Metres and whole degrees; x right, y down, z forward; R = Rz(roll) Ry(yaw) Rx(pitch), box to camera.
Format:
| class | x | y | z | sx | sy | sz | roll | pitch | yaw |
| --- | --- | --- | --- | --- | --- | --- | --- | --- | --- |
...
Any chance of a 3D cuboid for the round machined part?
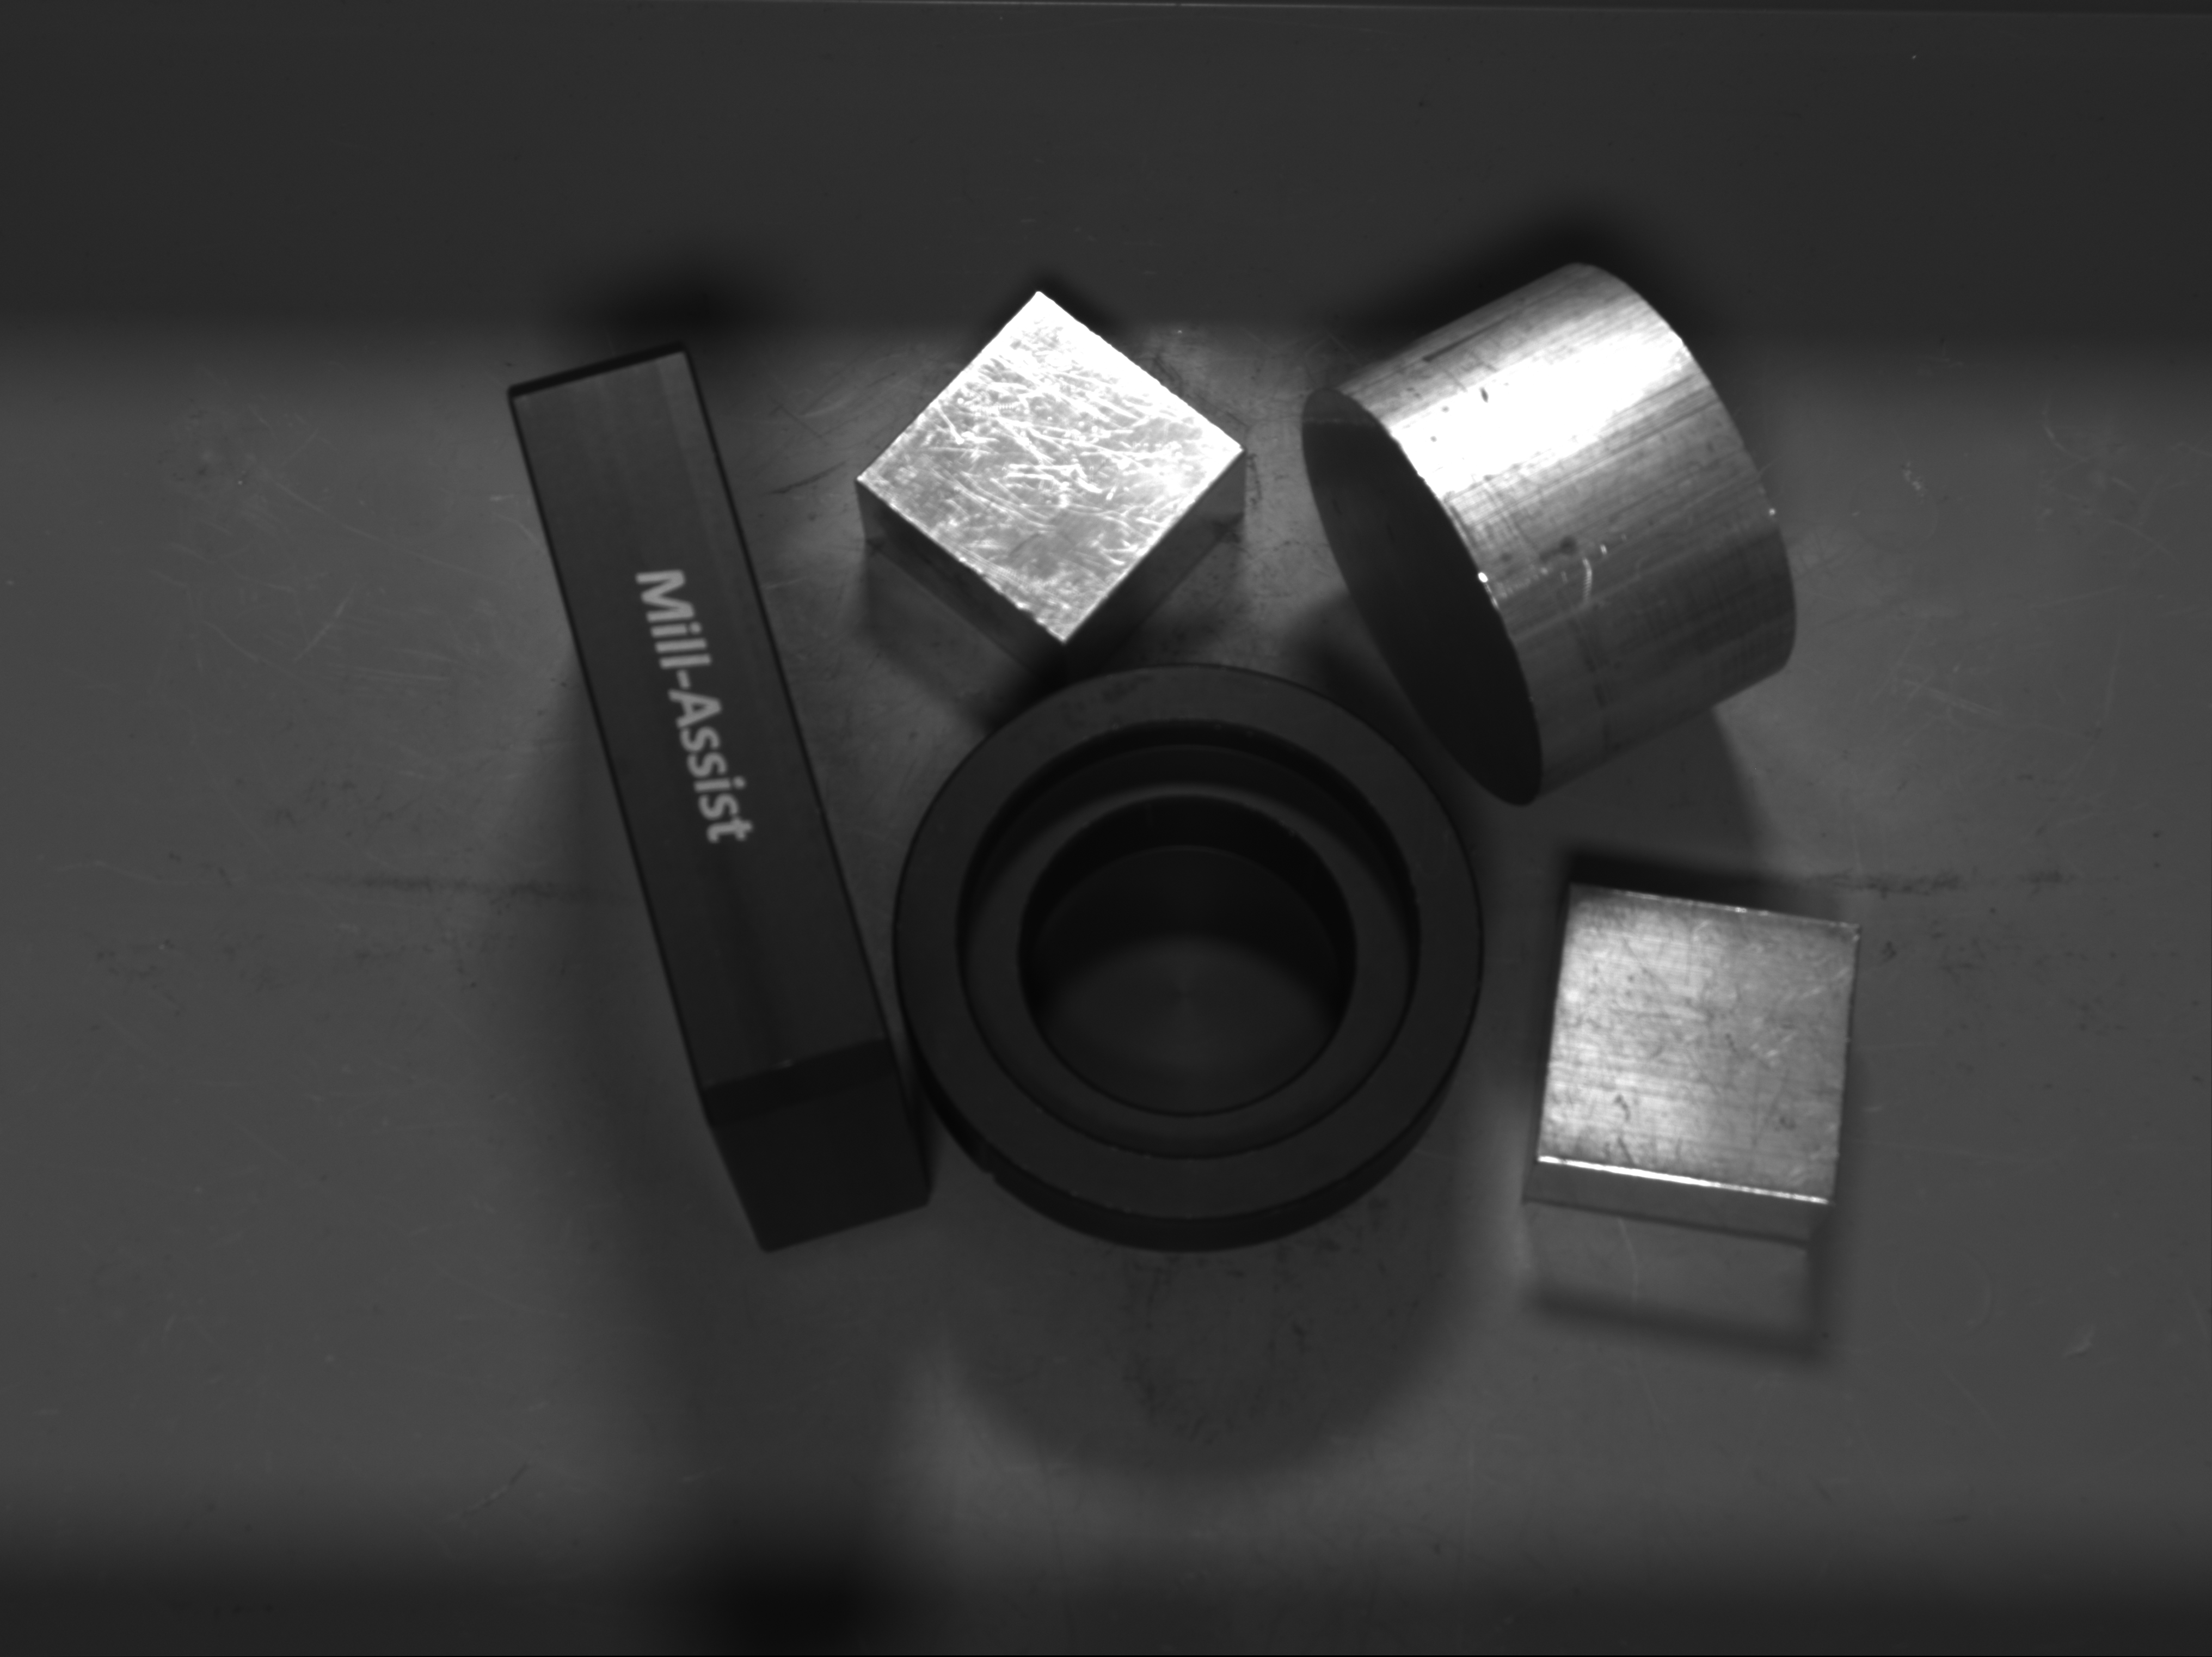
| class | x | y | z | sx | sy | sz | roll | pitch | yaw |
| --- | --- | --- | --- | --- | --- | --- | --- | --- | --- |
| round machined part | 0.014 | 0.024 | 0.624 | 0.098 | 0.042 | 0.098 | 0 | 70 | 0 |

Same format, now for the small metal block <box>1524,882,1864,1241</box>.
| class | x | y | z | sx | sy | sz | roll | pitch | yaw |
| --- | --- | --- | --- | --- | --- | --- | --- | --- | --- |
| small metal block | 0.101 | 0.040 | 0.629 | 0.050 | 0.025 | 0.050 | 8 | 69 | 5 |

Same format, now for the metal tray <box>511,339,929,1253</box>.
| class | x | y | z | sx | sy | sz | roll | pitch | yaw |
| --- | --- | --- | --- | --- | --- | --- | --- | --- | --- |
| metal tray | -0.063 | -0.004 | 0.610 | 0.030 | 0.090 | 0.130 | -16 | 70 | -5 |

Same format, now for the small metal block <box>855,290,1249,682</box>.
| class | x | y | z | sx | sy | sz | roll | pitch | yaw |
| --- | --- | --- | --- | --- | --- | --- | --- | --- | --- |
| small metal block | -0.009 | -0.061 | 0.666 | 0.050 | 0.025 | 0.050 | 38 | 75 | 14 |

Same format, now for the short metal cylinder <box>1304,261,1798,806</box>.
| class | x | y | z | sx | sy | sz | roll | pitch | yaw |
| --- | --- | --- | --- | --- | --- | --- | --- | --- | --- |
| short metal cylinder | 0.076 | -0.051 | 0.633 | 0.050 | 0.080 | 0.080 | -27 | 72 | -10 |
